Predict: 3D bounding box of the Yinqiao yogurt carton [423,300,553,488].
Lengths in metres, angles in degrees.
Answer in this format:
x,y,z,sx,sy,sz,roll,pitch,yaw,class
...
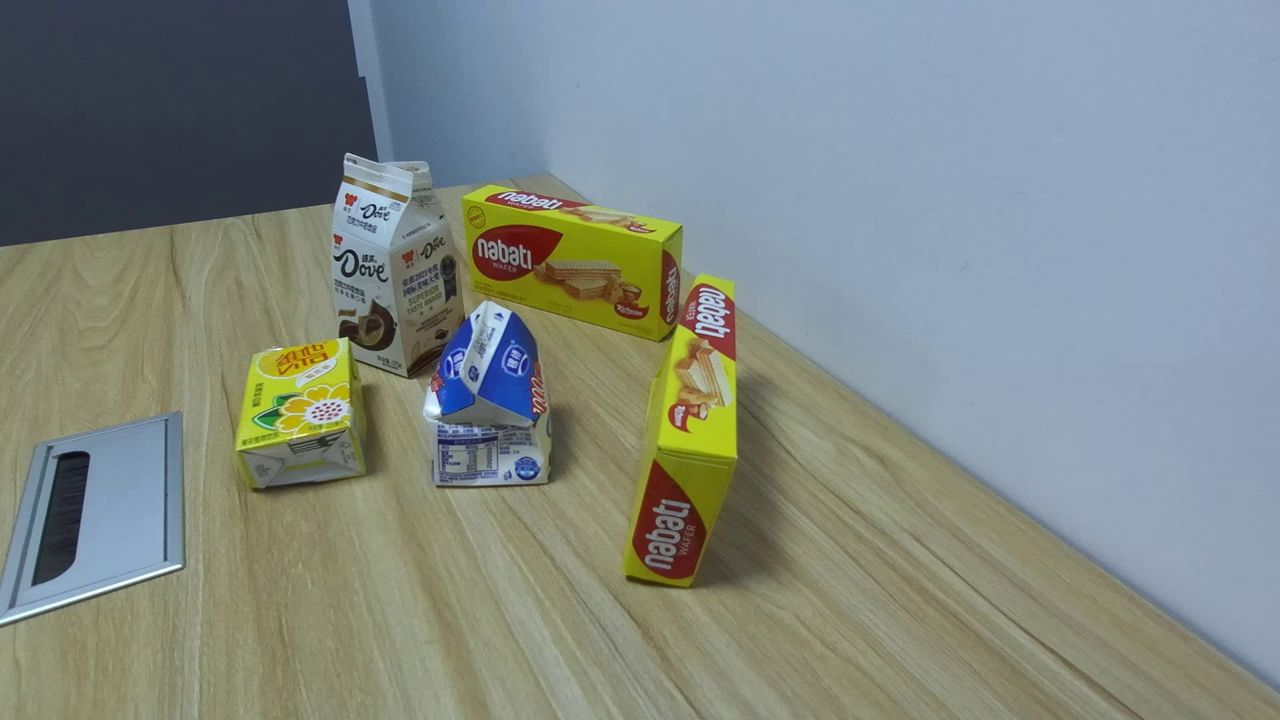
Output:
x,y,z,sx,sy,sz,roll,pitch,yaw,class
-0.096,0.018,0.450,0.077,0.093,0.083,-1,32,-5,Yinqiao yogurt carton

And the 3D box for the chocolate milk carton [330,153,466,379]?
x,y,z,sx,sy,sz,roll,pitch,yaw,class
-0.190,-0.077,0.538,0.084,0.155,0.073,17,36,21,chocolate milk carton

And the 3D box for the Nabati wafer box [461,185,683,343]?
x,y,z,sx,sy,sz,roll,pitch,yaw,class
-0.061,-0.087,0.620,0.202,0.093,0.042,16,34,23,Nabati wafer box

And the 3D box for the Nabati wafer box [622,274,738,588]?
x,y,z,sx,sy,sz,roll,pitch,yaw,class
0.028,0.030,0.435,0.042,0.096,0.203,12,33,-1,Nabati wafer box

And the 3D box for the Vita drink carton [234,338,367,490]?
x,y,z,sx,sy,sz,roll,pitch,yaw,class
-0.223,0.035,0.464,0.076,0.043,0.108,-12,36,-16,Vita drink carton
